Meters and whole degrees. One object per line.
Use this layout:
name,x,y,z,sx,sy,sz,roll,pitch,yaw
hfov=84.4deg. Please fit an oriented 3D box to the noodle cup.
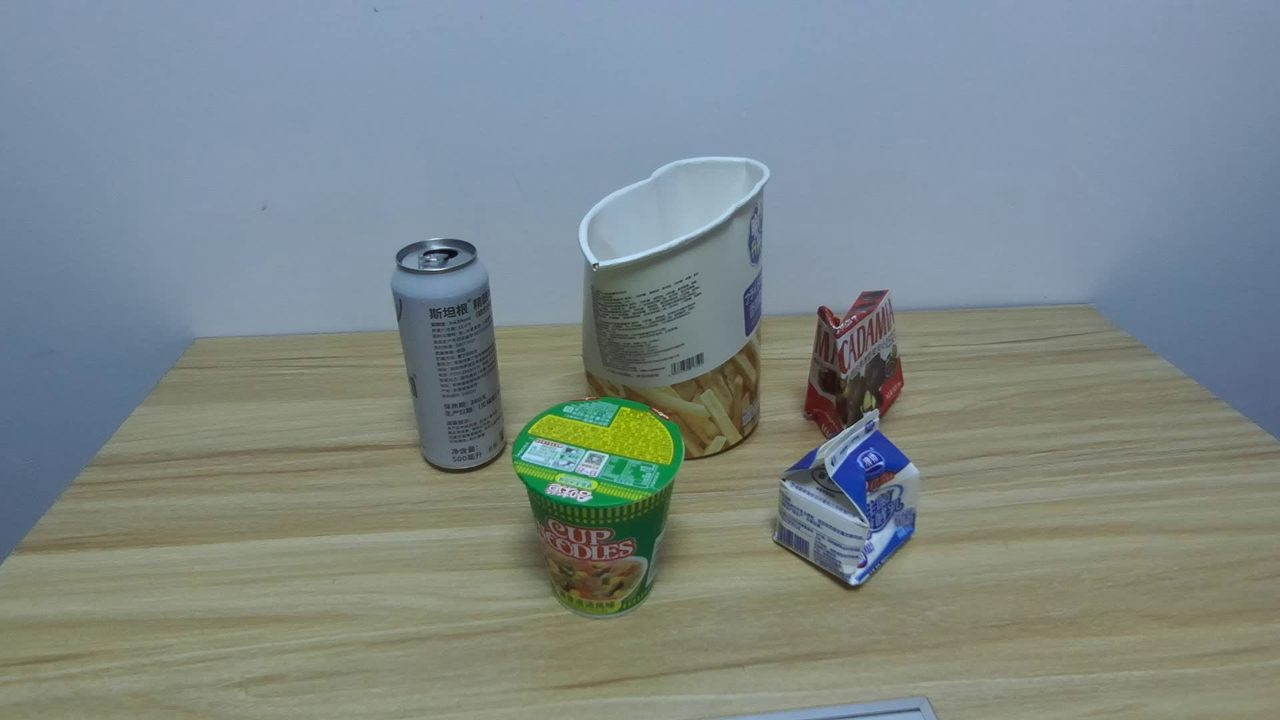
noodle cup,-0.022,0.095,0.430,0.097,0.110,0.097,-1,32,1

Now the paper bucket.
paper bucket,0.031,-0.041,0.563,0.147,0.199,0.217,-1,31,-2

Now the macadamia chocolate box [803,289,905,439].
macadamia chocolate box,0.182,-0.001,0.589,0.056,0.112,0.127,22,37,34

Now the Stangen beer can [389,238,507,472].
Stangen beer can,-0.140,-0.001,0.528,0.067,0.171,0.067,1,31,0

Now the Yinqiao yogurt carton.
Yinqiao yogurt carton,0.136,0.083,0.468,0.078,0.094,0.070,-26,34,-37
